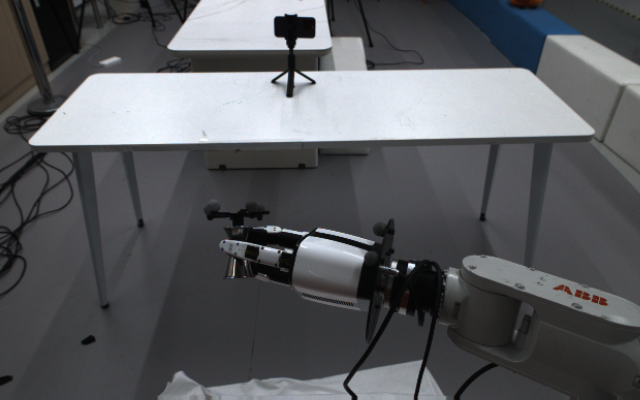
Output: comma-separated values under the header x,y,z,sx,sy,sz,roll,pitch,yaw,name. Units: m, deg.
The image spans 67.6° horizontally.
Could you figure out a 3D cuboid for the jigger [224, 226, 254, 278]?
x,y,z,sx,sy,sz,roll,pitch,yaw,name
-0.109,0.070,0.651,0.043,0.071,0.043,-2,-7,0,jigger
